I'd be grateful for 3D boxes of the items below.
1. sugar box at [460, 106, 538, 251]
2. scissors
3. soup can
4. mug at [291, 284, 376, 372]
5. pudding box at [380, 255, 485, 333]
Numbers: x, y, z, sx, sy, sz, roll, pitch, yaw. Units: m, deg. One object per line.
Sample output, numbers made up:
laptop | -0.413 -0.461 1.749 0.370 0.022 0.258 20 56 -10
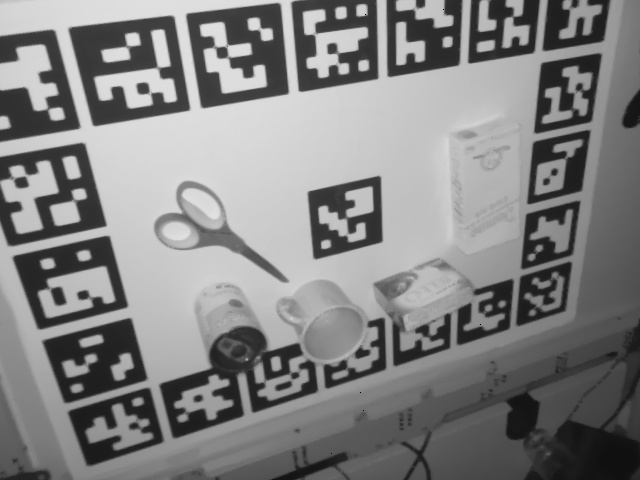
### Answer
sugar box | 0.241 -0.081 0.926 0.094 0.045 0.175 -17 117 -15
scissors | -0.105 -0.009 0.833 0.204 0.016 0.088 36 87 -29
soup can | -0.107 0.095 0.840 0.068 0.102 0.067 -9 118 -18
mug | 0.006 0.103 0.891 0.093 0.081 0.118 -47 122 1
pudding box | 0.149 0.071 0.925 0.115 0.089 0.038 -22 113 -10
